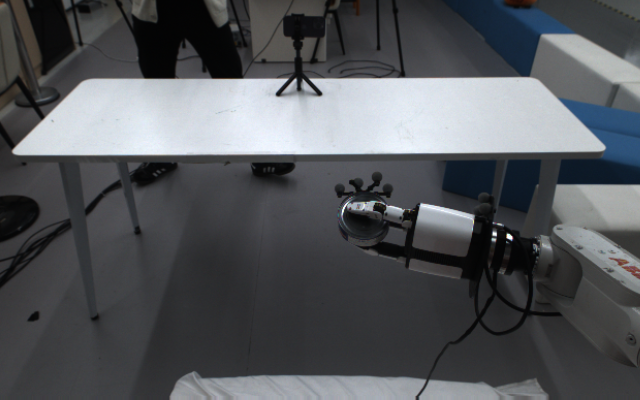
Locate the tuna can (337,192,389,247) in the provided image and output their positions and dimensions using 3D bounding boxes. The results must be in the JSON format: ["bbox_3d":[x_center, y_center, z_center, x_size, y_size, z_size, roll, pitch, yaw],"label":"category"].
[{"bbox_3d":[0.070,0.031,0.776,0.085,0.034,0.085,-2,58,2],"label":"tuna can"}]
